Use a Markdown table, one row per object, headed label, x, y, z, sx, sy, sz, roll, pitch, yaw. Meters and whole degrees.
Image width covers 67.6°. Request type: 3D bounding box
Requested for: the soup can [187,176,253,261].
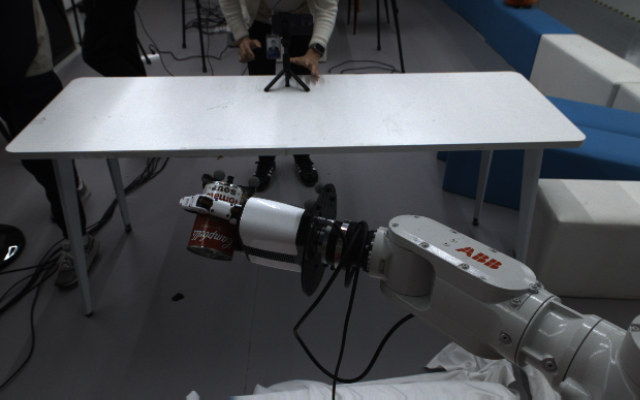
| label | x | y | z | sx | sy | sz | roll | pitch | yaw |
| --- | --- | --- | --- | --- | --- | --- | --- | --- | --- |
| soup can | -0.148 | 0.032 | 0.707 | 0.067 | 0.067 | 0.101 | 8 | 71 | 9 |
